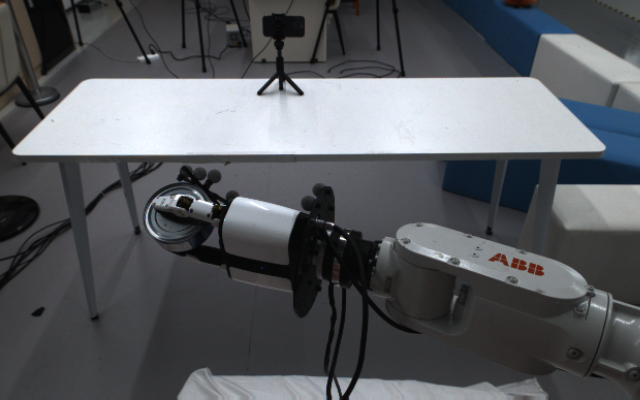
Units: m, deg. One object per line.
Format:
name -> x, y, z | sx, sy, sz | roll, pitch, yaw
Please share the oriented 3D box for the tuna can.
tuna can -> -0.178, 0.023, 0.620 | 0.085, 0.034, 0.085 | -2, 59, 3
